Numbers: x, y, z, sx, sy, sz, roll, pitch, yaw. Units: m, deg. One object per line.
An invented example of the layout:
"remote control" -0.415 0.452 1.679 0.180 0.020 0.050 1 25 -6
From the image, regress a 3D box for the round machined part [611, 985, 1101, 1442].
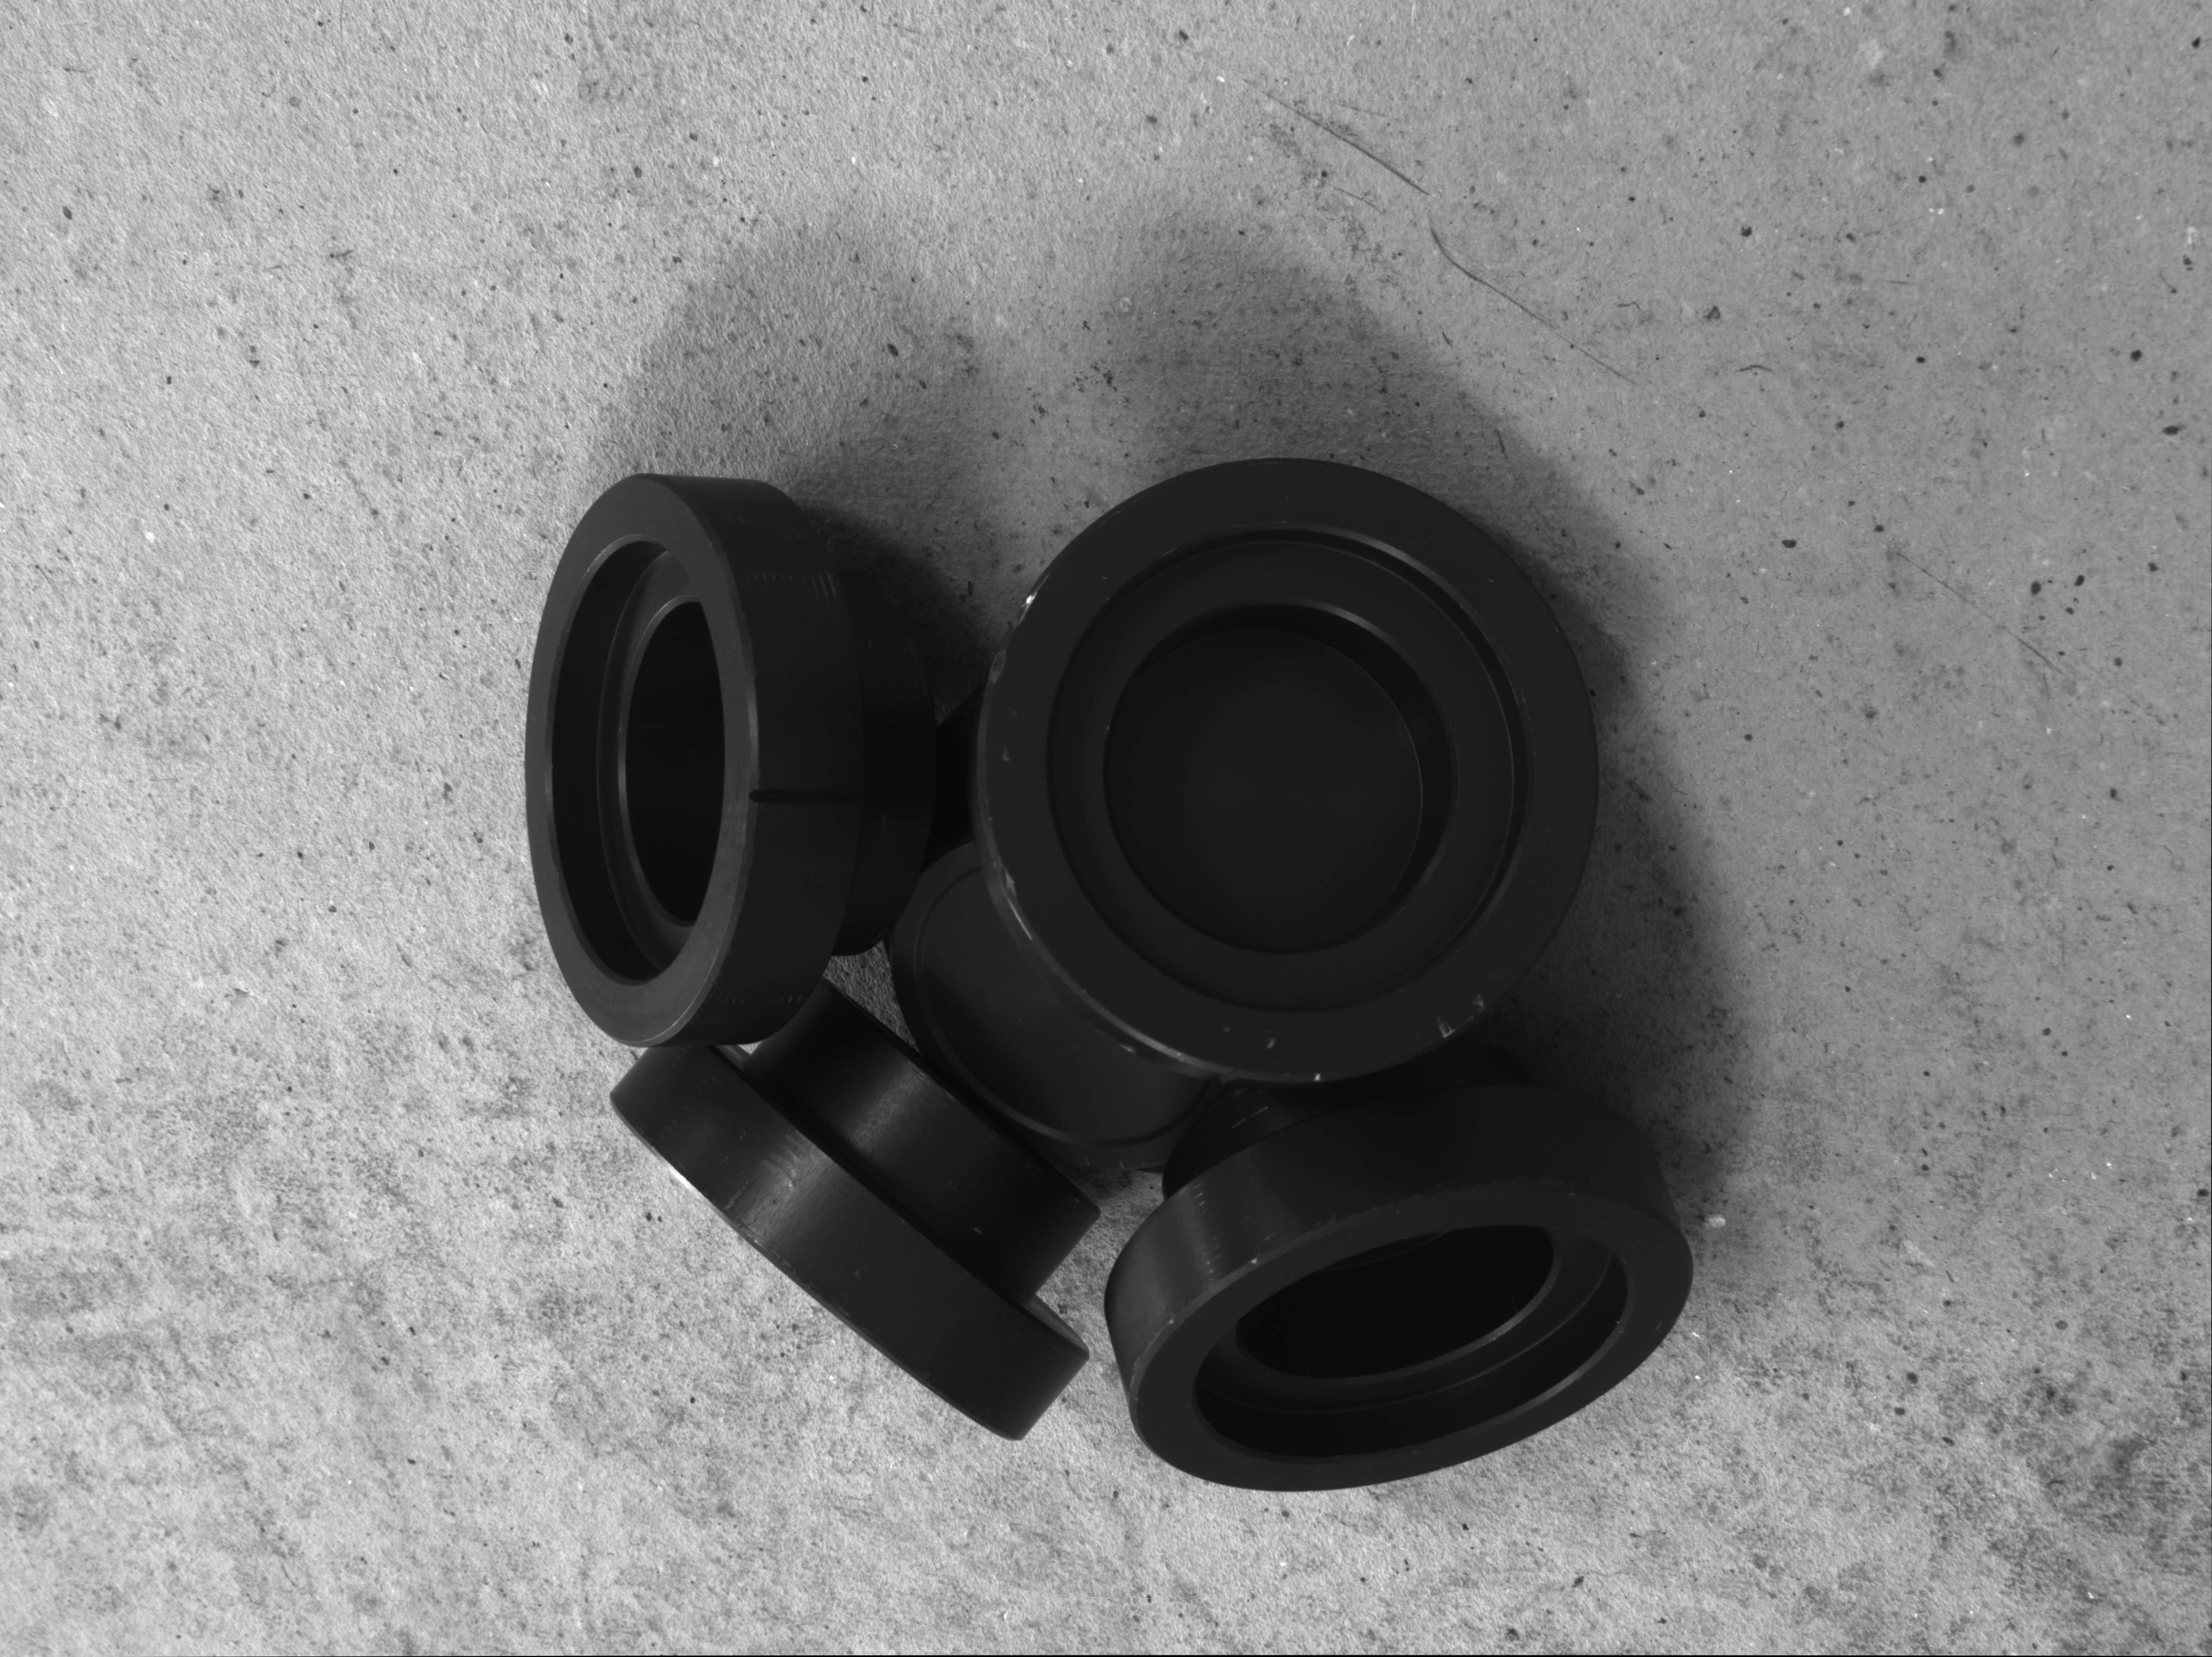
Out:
"round machined part" -0.040 0.065 0.670 0.098 0.098 0.042 40 86 1

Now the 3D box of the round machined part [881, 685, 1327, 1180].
"round machined part" 0.002 0.021 0.643 0.098 0.042 0.098 12 121 21

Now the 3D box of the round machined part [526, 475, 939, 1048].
"round machined part" -0.063 -0.011 0.638 0.098 0.042 0.098 -2 88 59

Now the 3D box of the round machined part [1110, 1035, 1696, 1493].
"round machined part" 0.048 0.072 0.629 0.098 0.042 0.098 -10 144 -7

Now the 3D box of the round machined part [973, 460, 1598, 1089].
"round machined part" 0.026 -0.007 0.591 0.098 0.098 0.042 42 170 -1
